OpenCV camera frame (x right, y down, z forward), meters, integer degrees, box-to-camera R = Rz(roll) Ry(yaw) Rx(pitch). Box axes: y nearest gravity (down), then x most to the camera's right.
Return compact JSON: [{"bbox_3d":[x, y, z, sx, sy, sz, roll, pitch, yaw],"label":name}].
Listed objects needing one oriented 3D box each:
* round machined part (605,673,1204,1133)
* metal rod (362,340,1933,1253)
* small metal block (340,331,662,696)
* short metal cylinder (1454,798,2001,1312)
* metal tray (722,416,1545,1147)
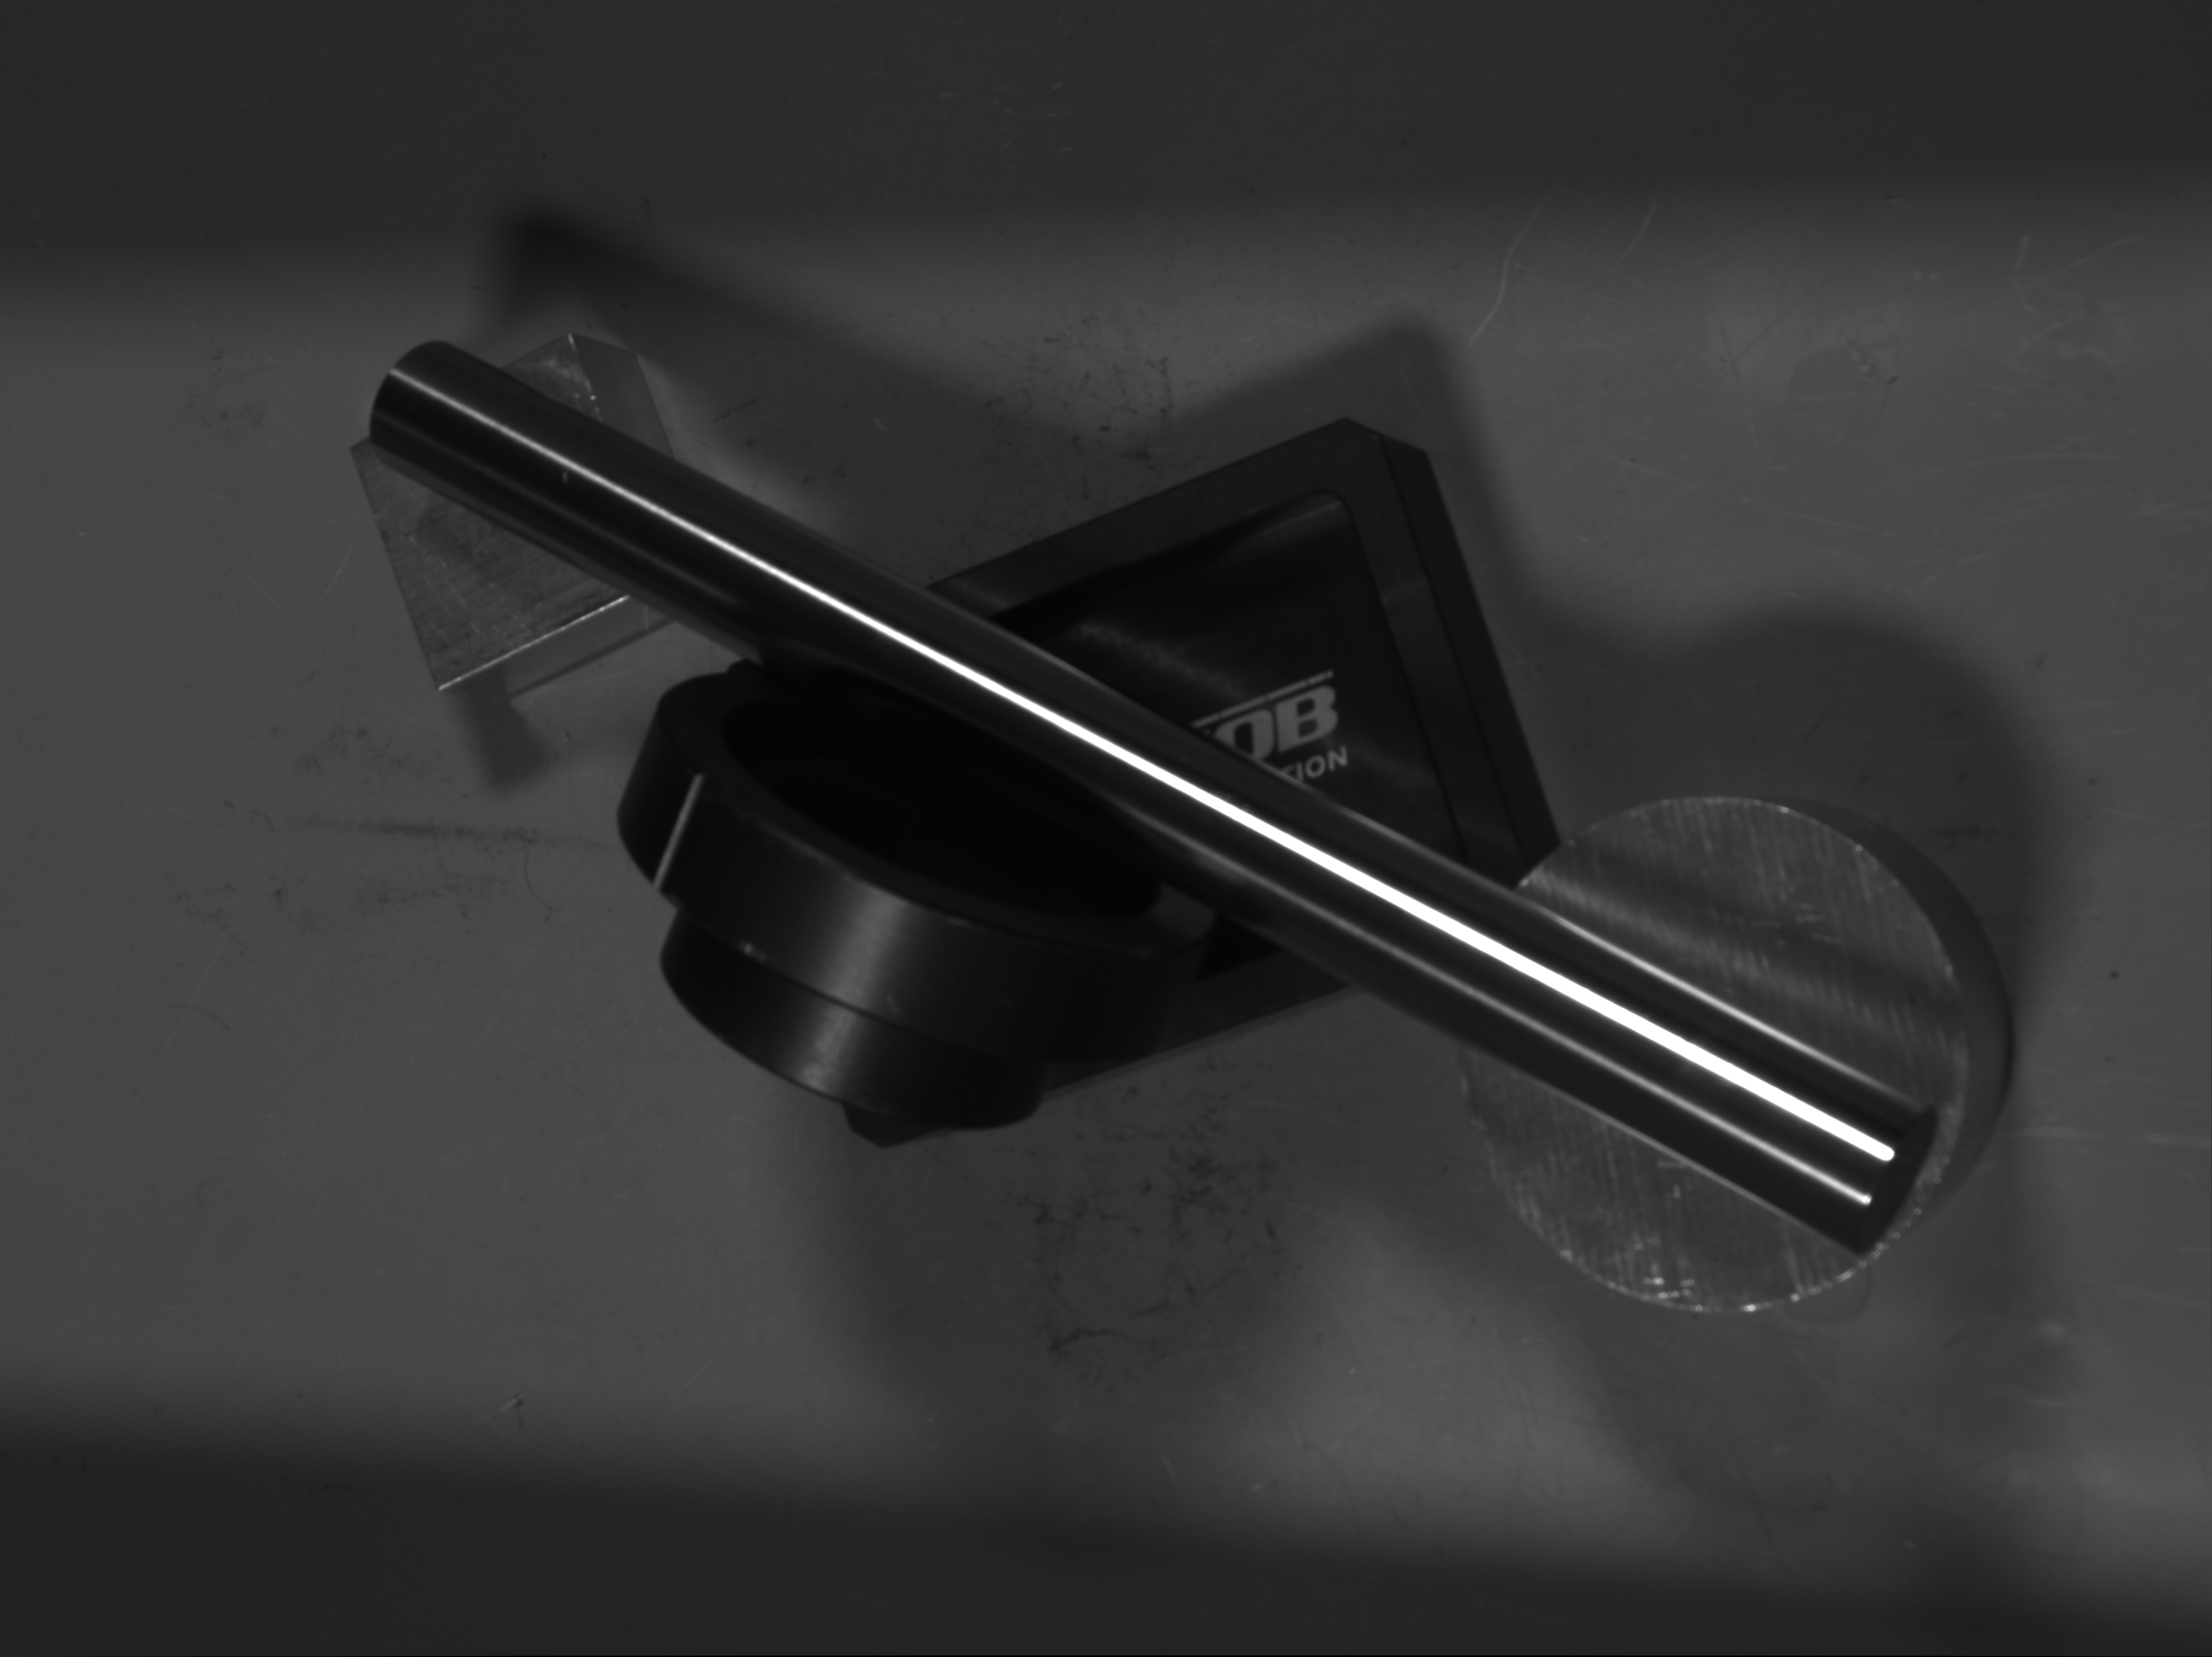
[{"bbox_3d":[-0.037,0.015,0.604,0.098,0.098,0.042,29,107,17],"label":"round machined part"},{"bbox_3d":[-0.005,-0.012,0.601,0.299,0.025,0.025,28,99,24],"label":"metal rod"},{"bbox_3d":[-0.108,-0.058,0.681,0.050,0.025,0.050,-23,82,18],"label":"small metal block"},{"bbox_3d":[0.102,0.035,0.594,0.080,0.050,0.080,0,90,20],"label":"short metal cylinder"},{"bbox_3d":[0.004,-0.007,0.638,0.130,0.030,0.090,-20,83,18],"label":"metal tray"}]
